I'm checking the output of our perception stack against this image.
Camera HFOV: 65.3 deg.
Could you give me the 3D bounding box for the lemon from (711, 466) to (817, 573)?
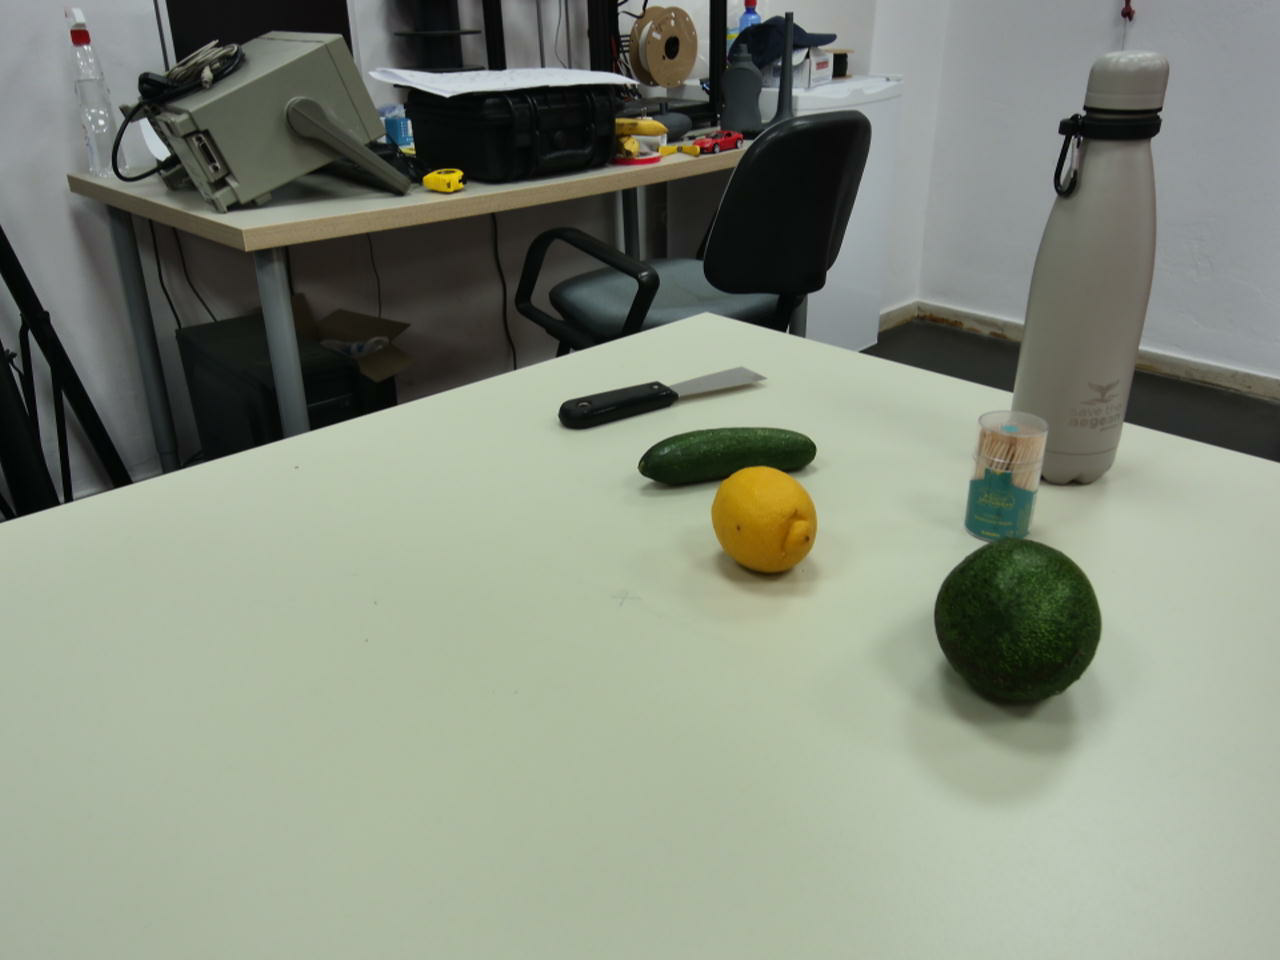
[{"bbox_3d":[0.073,0.024,0.592,0.061,0.059,0.067,0,24,0],"label":"lemon"}]
